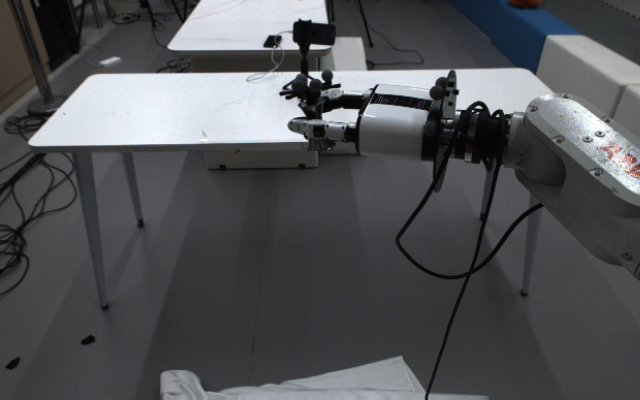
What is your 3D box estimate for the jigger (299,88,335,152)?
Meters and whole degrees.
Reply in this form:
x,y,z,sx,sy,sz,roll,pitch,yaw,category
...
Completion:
x,y,z,sx,sy,sz,roll,pitch,yaw,category
-0.003,-0.109,0.696,0.043,0.071,0.043,-10,24,5,jigger
